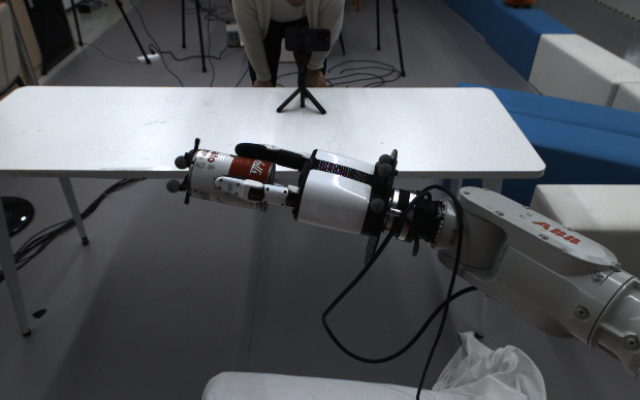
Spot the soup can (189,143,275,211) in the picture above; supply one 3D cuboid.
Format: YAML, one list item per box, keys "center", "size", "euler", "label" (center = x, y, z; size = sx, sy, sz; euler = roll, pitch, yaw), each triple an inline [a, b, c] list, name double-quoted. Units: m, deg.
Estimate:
- center: [-0.114, -0.025, 0.644]
  size: [0.101, 0.067, 0.067]
  euler: [11, 35, 0]
  label: "soup can"
